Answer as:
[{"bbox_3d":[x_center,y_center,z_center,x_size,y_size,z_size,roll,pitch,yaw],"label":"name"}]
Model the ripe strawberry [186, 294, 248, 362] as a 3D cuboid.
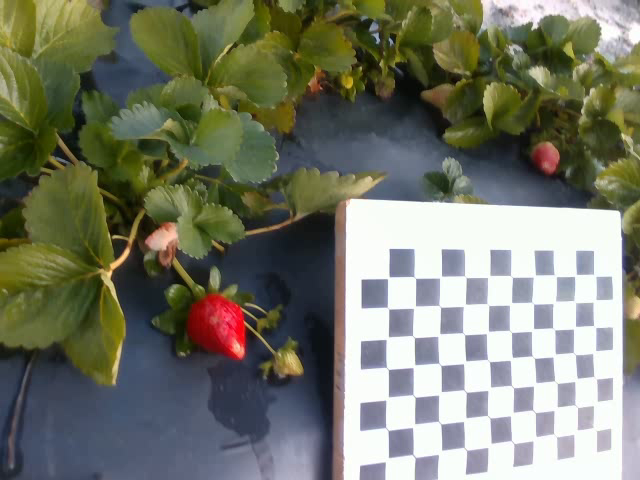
[{"bbox_3d":[-0.068,0.067,0.409,0.043,0.052,0.057,-26,35,-17],"label":"ripe strawberry"}]
